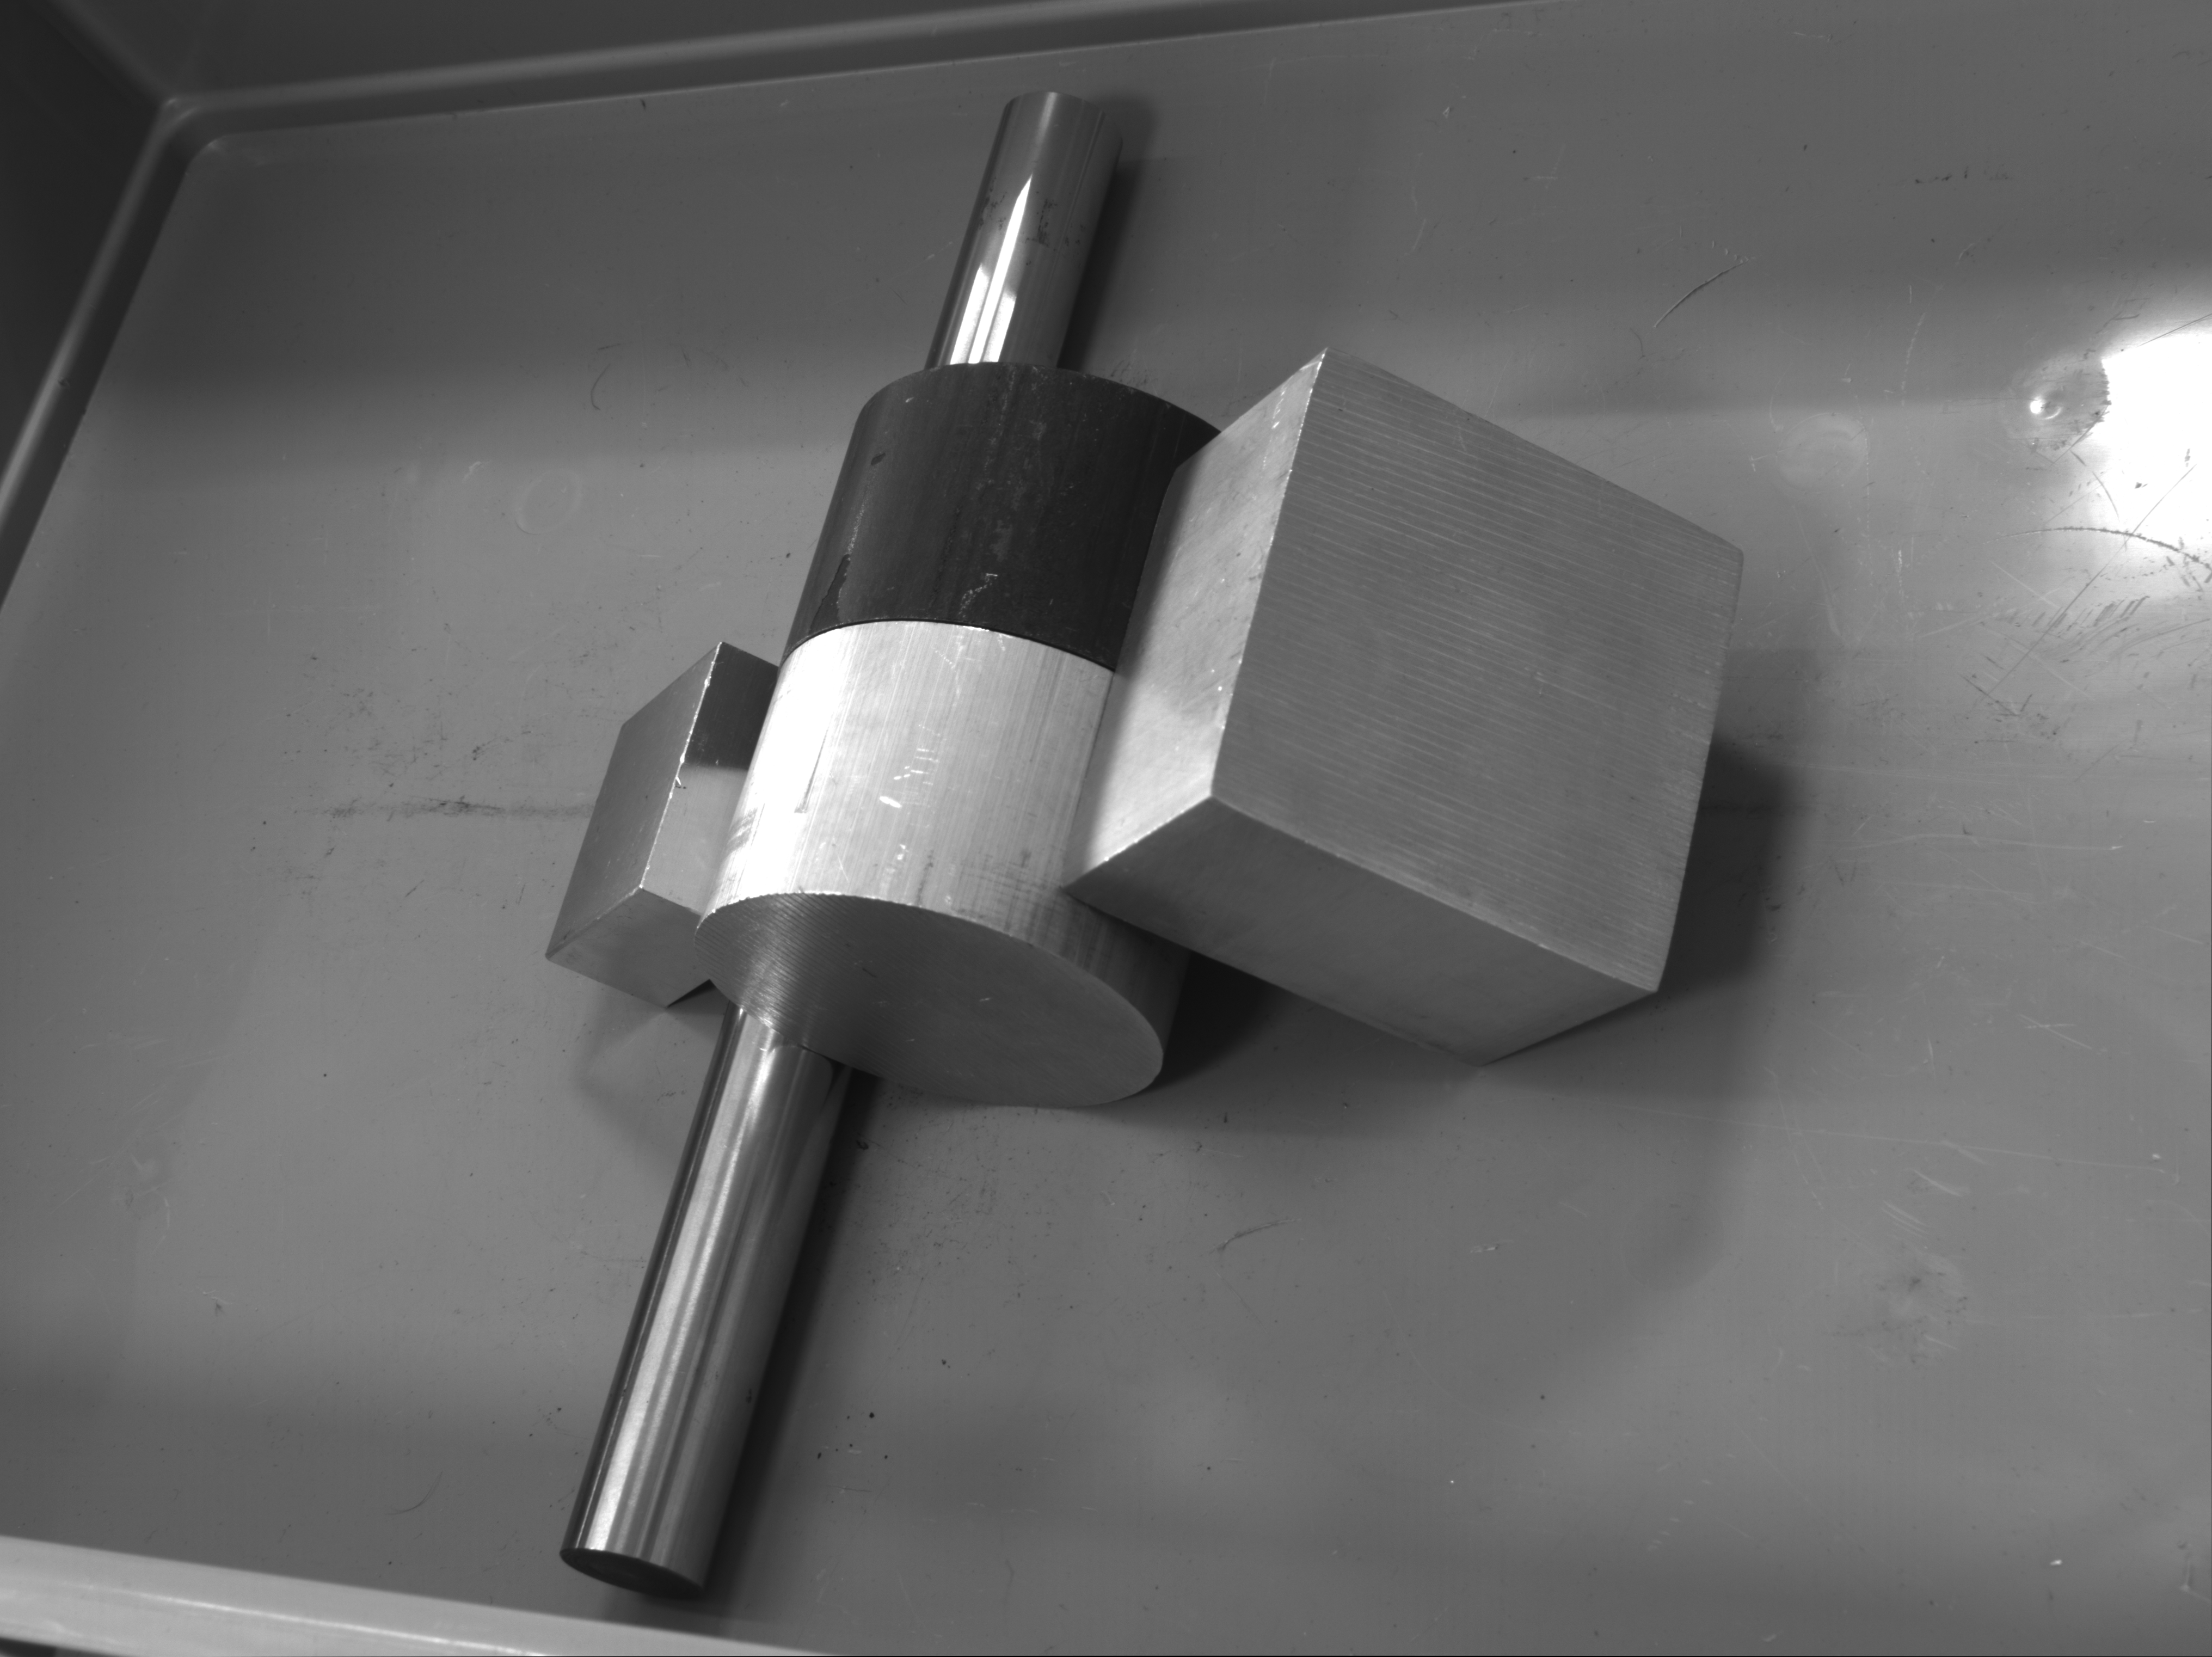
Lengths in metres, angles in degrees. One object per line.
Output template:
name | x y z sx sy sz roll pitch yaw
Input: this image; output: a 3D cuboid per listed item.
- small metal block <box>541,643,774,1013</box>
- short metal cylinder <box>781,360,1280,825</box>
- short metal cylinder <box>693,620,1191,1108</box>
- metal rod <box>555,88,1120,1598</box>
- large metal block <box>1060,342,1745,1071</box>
small metal block | -0.075 0.001 0.670 0.050 0.025 0.050 -30 40 56
short metal cylinder | -0.012 -0.037 0.637 0.080 0.080 0.050 0 62 29
short metal cylinder | -0.024 0.007 0.616 0.080 0.080 0.050 0 62 29
metal rod | -0.044 -0.008 0.672 0.025 0.025 0.300 0 62 29
large metal block | 0.048 -0.018 0.584 0.050 0.080 0.080 -33 38 59
